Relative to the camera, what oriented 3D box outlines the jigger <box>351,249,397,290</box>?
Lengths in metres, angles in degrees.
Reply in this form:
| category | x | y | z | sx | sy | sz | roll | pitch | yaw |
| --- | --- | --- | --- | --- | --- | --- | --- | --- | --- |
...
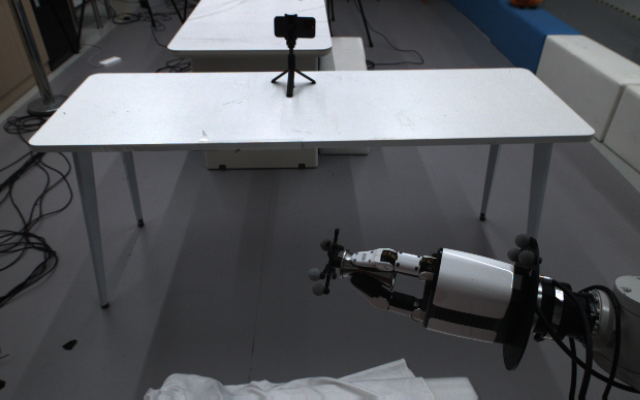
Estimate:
| category | x | y | z | sx | sy | sz | roll | pitch | yaw |
| --- | --- | --- | --- | --- | --- | --- | --- | --- | --- |
| jigger | 0.070 | 0.084 | 0.625 | 0.071 | 0.043 | 0.043 | 9 | 35 | 16 |
